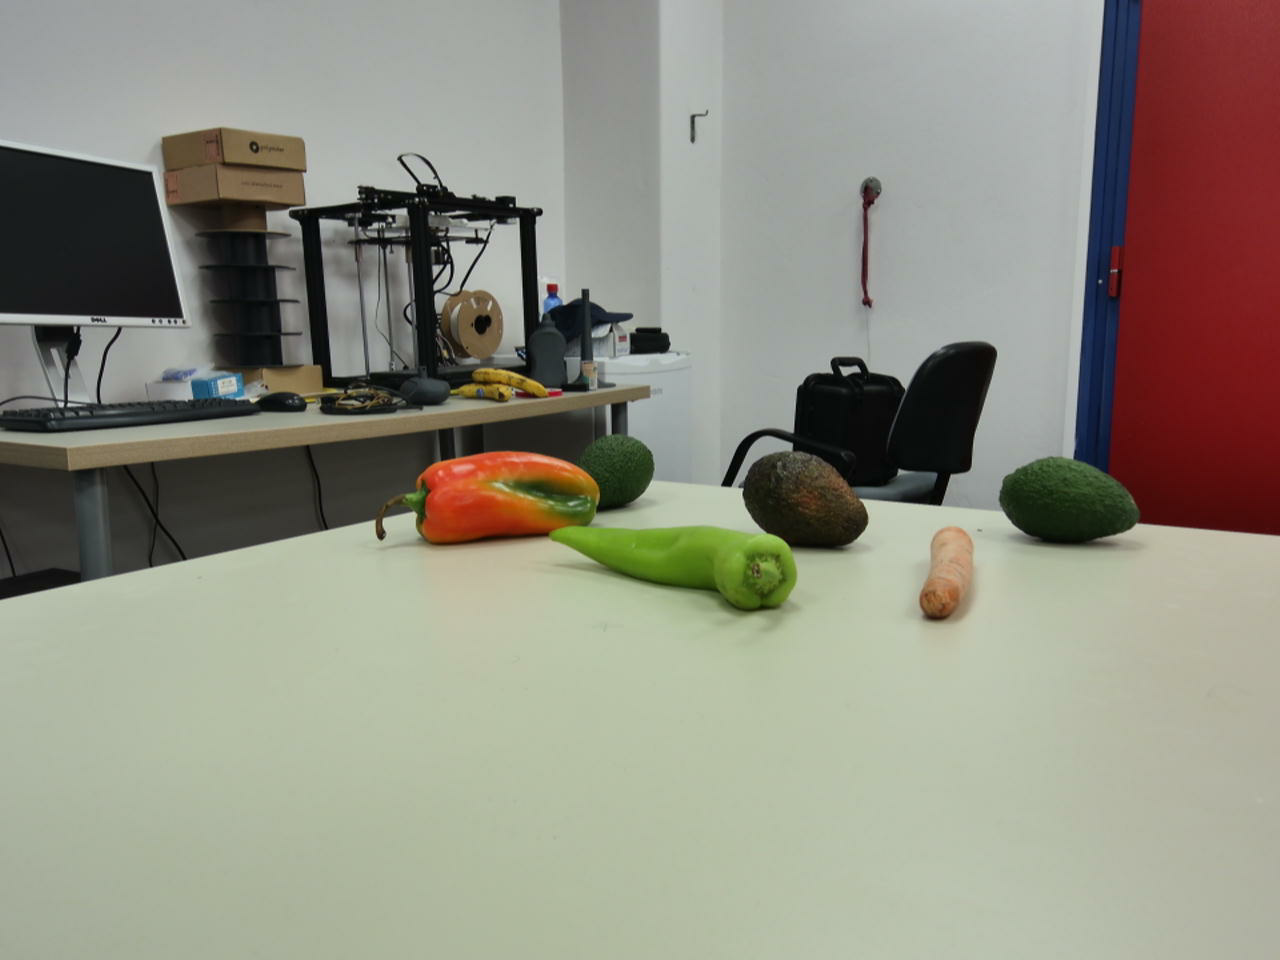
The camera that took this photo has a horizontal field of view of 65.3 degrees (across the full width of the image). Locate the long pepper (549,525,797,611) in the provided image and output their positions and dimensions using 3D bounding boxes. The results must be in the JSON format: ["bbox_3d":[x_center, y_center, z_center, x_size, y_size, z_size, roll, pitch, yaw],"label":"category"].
[{"bbox_3d":[0.025,0.046,0.638,0.065,0.045,0.205,-5,9,-38],"label":"long pepper"}]
